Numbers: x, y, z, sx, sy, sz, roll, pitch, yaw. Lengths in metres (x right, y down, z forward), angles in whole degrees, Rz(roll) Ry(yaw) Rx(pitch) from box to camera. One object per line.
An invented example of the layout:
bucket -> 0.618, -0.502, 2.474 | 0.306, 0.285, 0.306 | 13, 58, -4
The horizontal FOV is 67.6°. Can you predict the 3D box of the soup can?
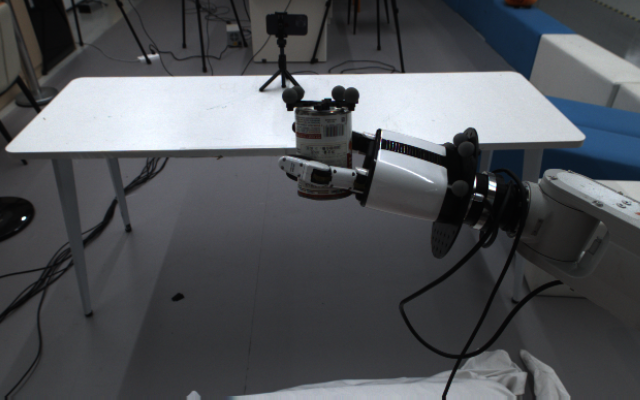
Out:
soup can -> 0.007, -0.057, 0.570 | 0.067, 0.101, 0.067 | -1, 17, 0
